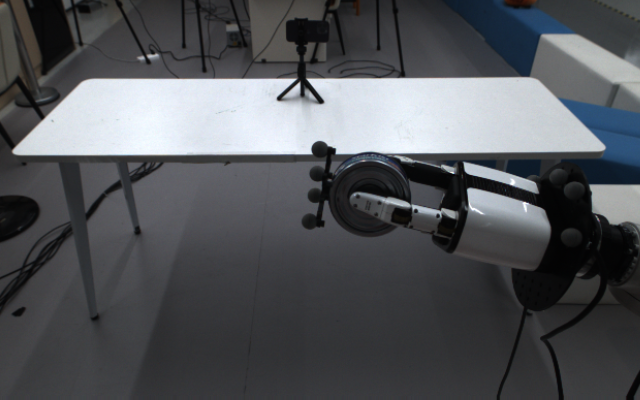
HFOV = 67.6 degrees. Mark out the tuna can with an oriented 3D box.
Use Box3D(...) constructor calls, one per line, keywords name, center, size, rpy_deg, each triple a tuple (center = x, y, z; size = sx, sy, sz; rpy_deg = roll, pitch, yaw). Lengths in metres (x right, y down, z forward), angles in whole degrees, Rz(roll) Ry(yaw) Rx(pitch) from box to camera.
Box3D(name="tuna can", center=(0.056, -0.002, 0.506), size=(0.085, 0.085, 0.034), rpy_deg=(4, 17, 2))
